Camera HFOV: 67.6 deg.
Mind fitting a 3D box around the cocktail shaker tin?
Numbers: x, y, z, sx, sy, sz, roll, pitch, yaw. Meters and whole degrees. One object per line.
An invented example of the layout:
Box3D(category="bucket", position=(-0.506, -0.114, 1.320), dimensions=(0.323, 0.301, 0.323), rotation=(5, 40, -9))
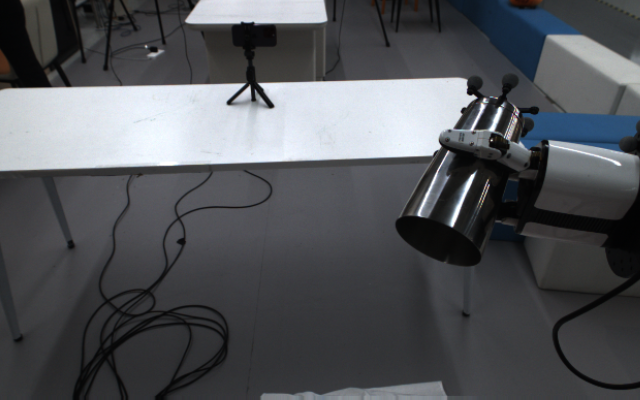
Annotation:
Box3D(category="cocktail shaker tin", position=(0.160, -0.029, 0.516), dimensions=(0.093, 0.093, 0.170), rotation=(20, 67, 23))
